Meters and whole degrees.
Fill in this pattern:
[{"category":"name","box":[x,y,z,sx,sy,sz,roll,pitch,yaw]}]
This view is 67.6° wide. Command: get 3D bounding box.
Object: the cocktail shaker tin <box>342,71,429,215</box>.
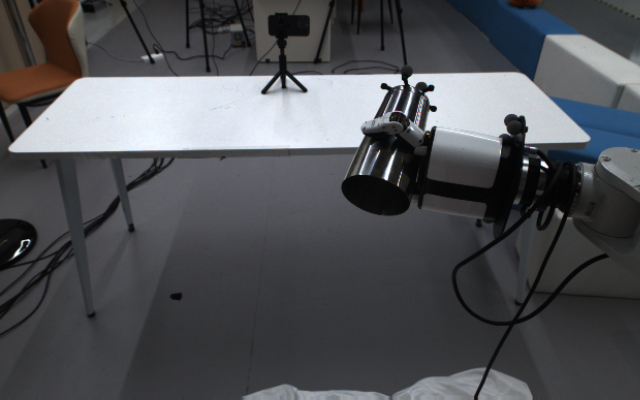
[{"category":"cocktail shaker tin","box":[0.097,-0.074,0.661,0.093,0.093,0.170,14,61,17]}]
